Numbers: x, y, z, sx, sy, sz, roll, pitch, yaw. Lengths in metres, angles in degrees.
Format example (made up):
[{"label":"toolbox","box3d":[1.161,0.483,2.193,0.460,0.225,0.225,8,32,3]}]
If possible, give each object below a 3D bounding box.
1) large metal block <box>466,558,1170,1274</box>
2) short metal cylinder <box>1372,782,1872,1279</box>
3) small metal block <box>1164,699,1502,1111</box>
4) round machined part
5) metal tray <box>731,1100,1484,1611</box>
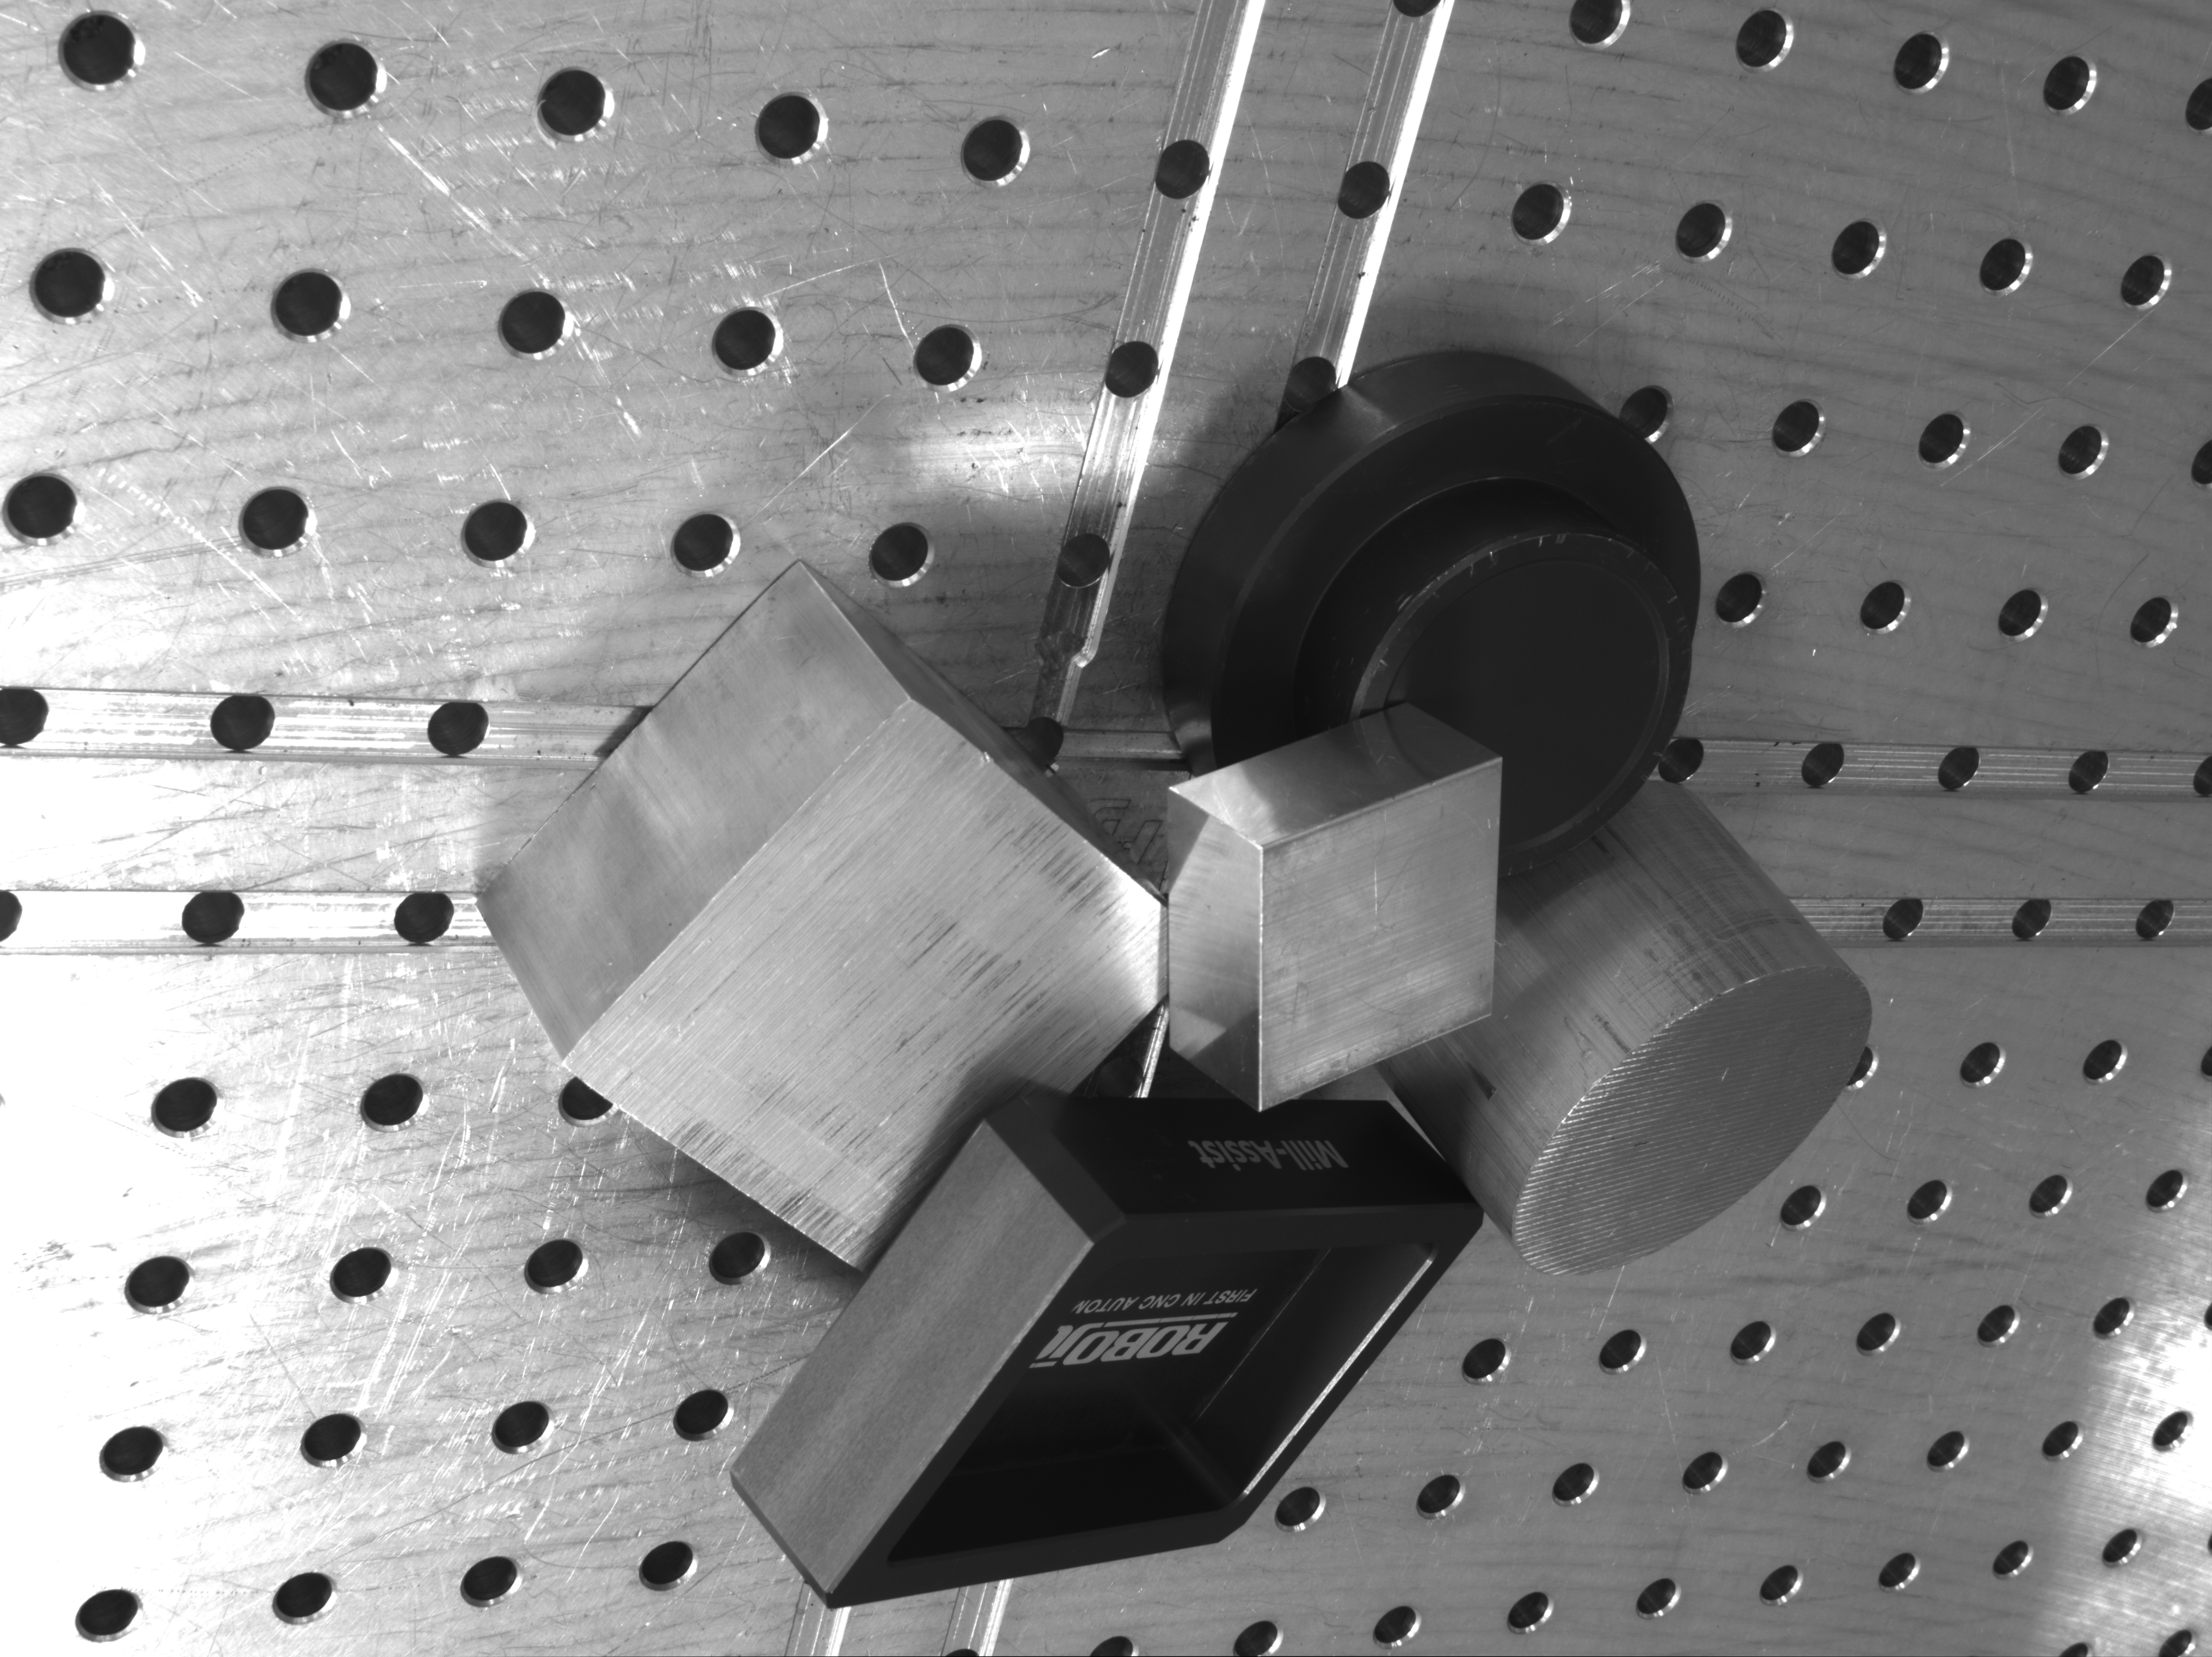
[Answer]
[{"label":"large metal block","box3d":[-0.044,0.017,0.611,0.080,0.050,0.080,-46,129,4]},{"label":"short metal cylinder","box3d":[0.095,0.038,0.684,0.080,0.050,0.080,-24,144,-19]},{"label":"small metal block","box3d":[0.038,0.012,0.609,0.050,0.025,0.050,-20,123,-30]},{"label":"round machined part","box3d":[0.063,-0.030,0.645,0.098,0.042,0.098,-13,124,-21]},{"label":"metal tray","box3d":[0.004,0.092,0.659,0.130,0.030,0.090,7,124,-55]}]
